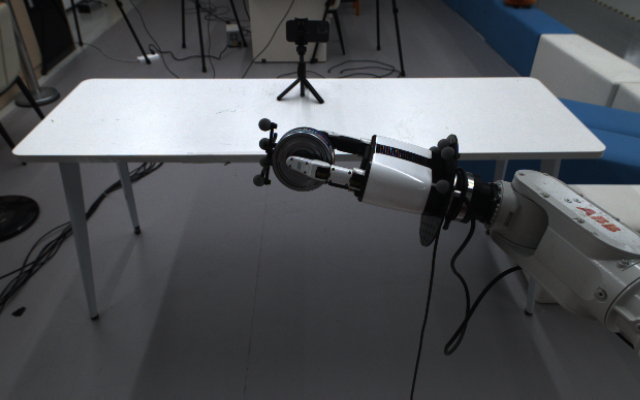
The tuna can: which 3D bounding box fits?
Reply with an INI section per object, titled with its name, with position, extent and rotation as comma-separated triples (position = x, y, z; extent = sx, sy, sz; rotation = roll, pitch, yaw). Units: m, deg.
[tuna can]
position = -0.021, -0.057, 0.671
extent = 0.085, 0.085, 0.034
rotation = 4, 18, 3
